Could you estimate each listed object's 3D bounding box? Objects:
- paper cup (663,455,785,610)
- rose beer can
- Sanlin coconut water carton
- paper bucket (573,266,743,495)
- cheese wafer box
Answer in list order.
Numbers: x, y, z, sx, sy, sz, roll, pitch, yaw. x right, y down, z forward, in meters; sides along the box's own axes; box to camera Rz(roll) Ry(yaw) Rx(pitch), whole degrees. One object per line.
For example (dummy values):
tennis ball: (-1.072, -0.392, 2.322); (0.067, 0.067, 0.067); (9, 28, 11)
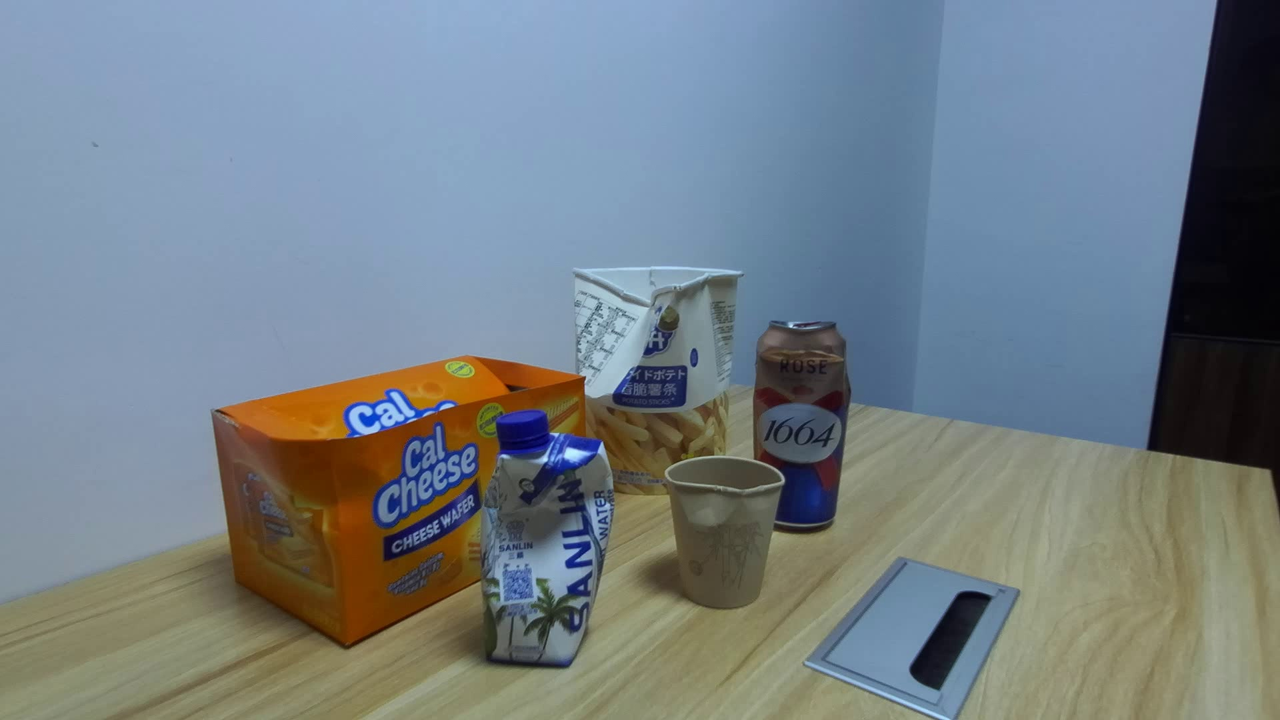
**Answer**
paper cup: (0.055, 0.113, 0.472); (0.074, 0.081, 0.068); (-8, 14, -33)
rose beer can: (0.130, 0.050, 0.576); (0.075, 0.167, 0.065); (3, 12, 26)
Sanlin coconut water carton: (-0.053, 0.102, 0.401); (0.068, 0.144, 0.057); (9, 19, 6)
paper bucket: (0.004, 0.013, 0.694); (0.162, 0.202, 0.170); (4, 10, 27)
cheese wafer box: (-0.163, 0.086, 0.522); (0.151, 0.132, 0.231); (10, 14, 36)
